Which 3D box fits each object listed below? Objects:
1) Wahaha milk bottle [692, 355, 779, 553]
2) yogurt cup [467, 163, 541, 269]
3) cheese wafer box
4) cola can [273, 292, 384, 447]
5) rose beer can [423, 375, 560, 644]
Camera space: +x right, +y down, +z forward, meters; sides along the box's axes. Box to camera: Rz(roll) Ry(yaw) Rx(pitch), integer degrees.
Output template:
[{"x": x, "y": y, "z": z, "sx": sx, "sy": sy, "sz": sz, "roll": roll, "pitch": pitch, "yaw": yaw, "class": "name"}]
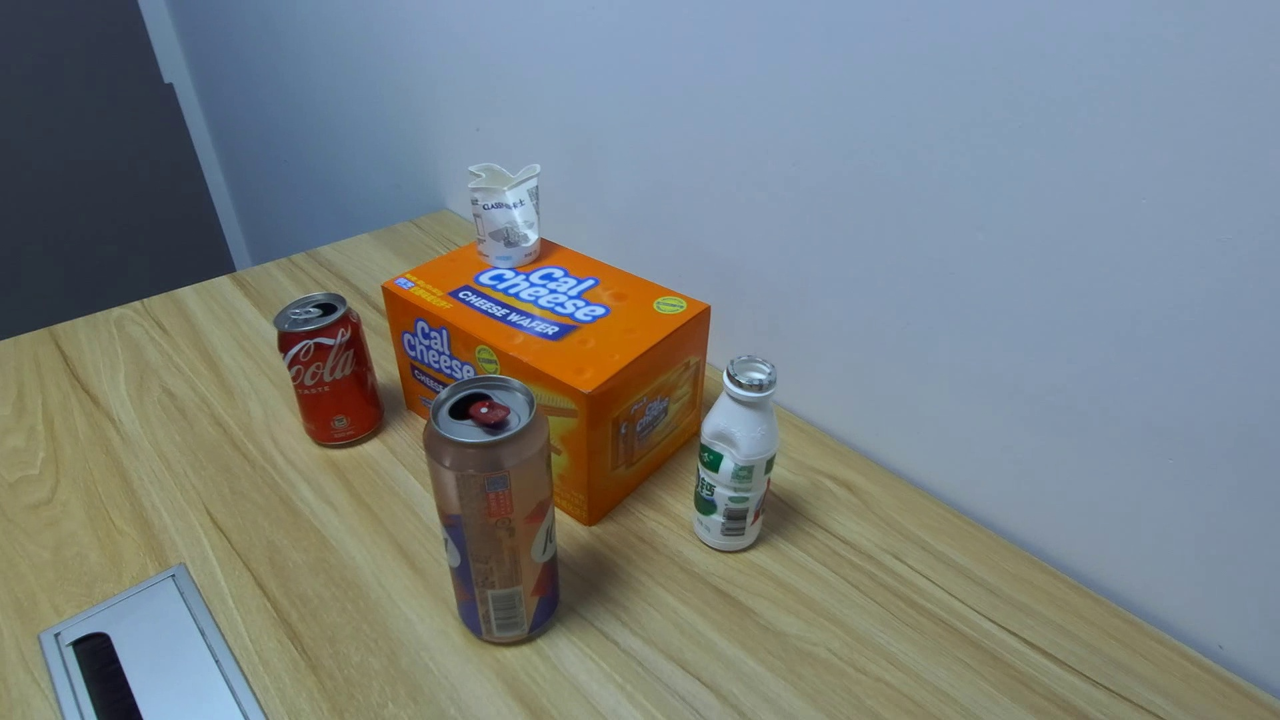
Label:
[{"x": 0.065, "y": 0.069, "z": 0.480, "sx": 0.053, "sy": 0.137, "sz": 0.053, "roll": 2, "pitch": 37, "yaw": -1, "class": "Wahaha milk bottle"}, {"x": -0.110, "y": -0.120, "z": 0.580, "sx": 0.055, "sy": 0.072, "sz": 0.055, "roll": -1, "pitch": 37, "yaw": -4, "class": "yogurt cup"}, {"x": -0.075, "y": 0.001, "z": 0.581, "sx": 0.221, "sy": 0.129, "sz": 0.148, "roll": 26, "pitch": 43, "yaw": 29, "class": "cheese wafer box"}, {"x": -0.250, "y": 0.009, "z": 0.573, "sx": 0.065, "sy": 0.117, "sz": 0.072, "roll": 2, "pitch": 35, "yaw": -1, "class": "cola can"}, {"x": -0.084, "y": 0.094, "z": 0.419, "sx": 0.068, "sy": 0.169, "sz": 0.068, "roll": 0, "pitch": 35, "yaw": 0, "class": "rose beer can"}]
